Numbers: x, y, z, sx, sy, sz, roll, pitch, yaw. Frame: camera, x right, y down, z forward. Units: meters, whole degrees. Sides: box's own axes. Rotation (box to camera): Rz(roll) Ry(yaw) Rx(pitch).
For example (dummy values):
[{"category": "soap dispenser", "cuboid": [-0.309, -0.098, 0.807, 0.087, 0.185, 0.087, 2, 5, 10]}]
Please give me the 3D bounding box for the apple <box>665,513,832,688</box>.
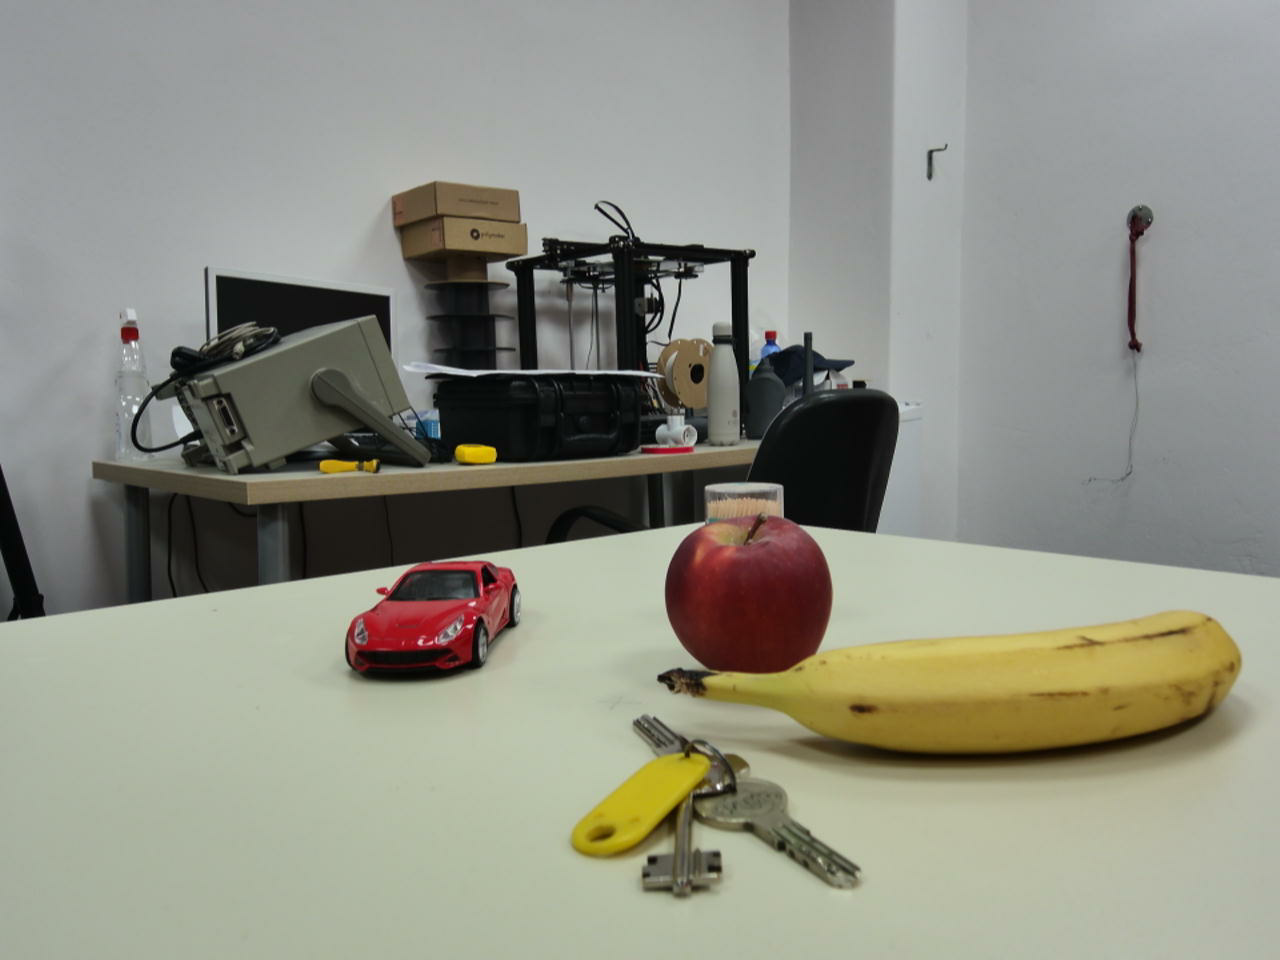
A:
[{"category": "apple", "cuboid": [0.046, 0.048, 0.419, 0.070, 0.072, 0.070, 0, 3, 0]}]
